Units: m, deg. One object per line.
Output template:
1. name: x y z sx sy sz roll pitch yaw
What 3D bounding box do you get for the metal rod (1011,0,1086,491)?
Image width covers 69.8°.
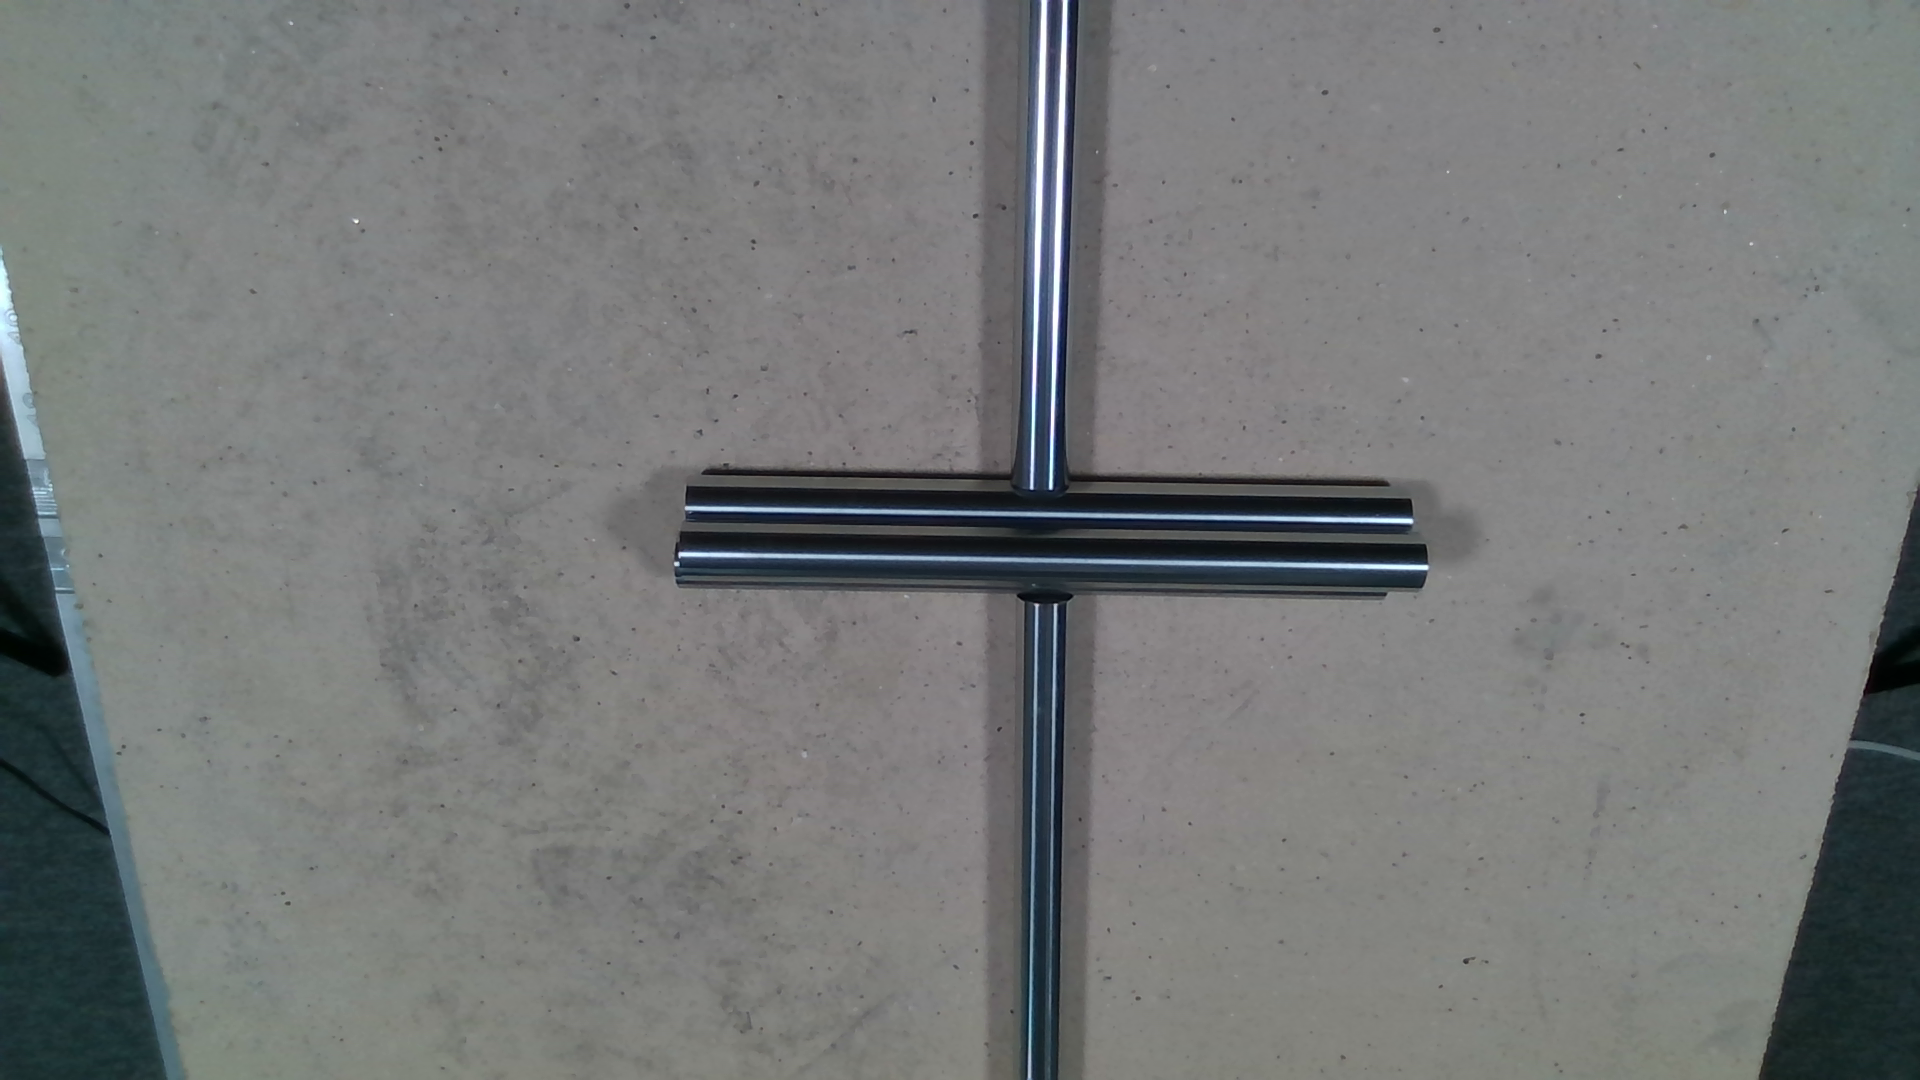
1. metal rod: 0.034 -0.165 0.523 0.025 0.025 0.301 0 110 0

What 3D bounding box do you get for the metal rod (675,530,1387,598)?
1. metal rod: 0.031 0.010 0.589 0.300 0.025 0.025 1 110 0

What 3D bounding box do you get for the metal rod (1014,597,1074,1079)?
1. metal rod: 0.038 0.164 0.645 0.025 0.025 0.301 0 110 0

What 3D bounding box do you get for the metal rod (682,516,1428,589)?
1. metal rod: 0.038 0.005 0.565 0.300 0.025 0.025 1 110 0

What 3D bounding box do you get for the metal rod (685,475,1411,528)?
1. metal rod: 0.037 -0.013 0.581 0.300 0.025 0.025 1 110 0
